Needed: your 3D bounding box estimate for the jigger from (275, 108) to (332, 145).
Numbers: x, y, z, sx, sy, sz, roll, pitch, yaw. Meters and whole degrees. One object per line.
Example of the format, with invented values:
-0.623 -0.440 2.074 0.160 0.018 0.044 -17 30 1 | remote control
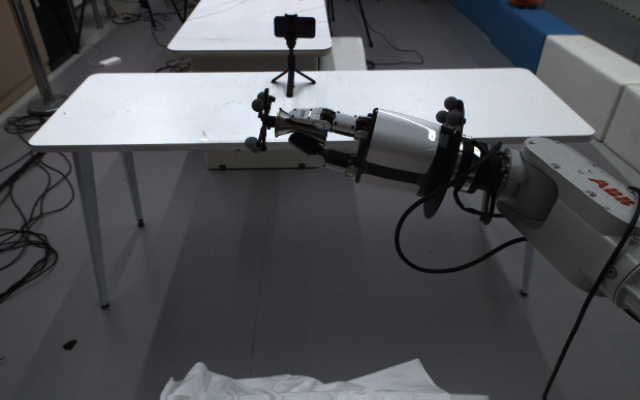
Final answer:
-0.017 -0.102 0.649 0.071 0.043 0.043 9 35 1 | jigger
